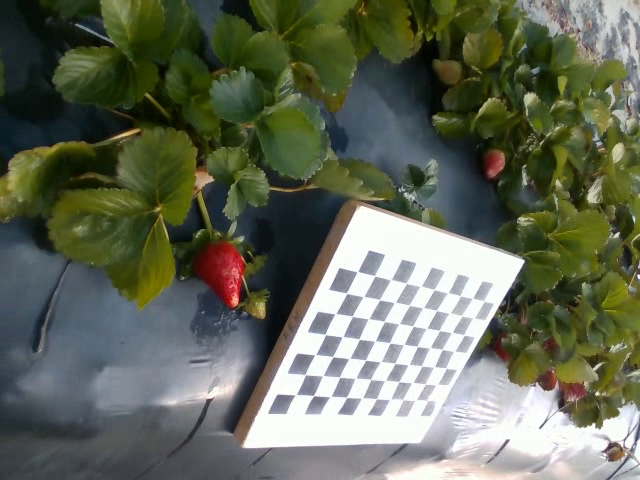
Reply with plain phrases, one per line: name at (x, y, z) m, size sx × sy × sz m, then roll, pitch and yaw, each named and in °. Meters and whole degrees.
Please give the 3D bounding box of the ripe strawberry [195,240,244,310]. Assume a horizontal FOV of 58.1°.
ripe strawberry at (-0.080, 0.033, 0.487) m, size 0.043 × 0.057 × 0.052 m, roll -10°, pitch -30°, yaw -24°
